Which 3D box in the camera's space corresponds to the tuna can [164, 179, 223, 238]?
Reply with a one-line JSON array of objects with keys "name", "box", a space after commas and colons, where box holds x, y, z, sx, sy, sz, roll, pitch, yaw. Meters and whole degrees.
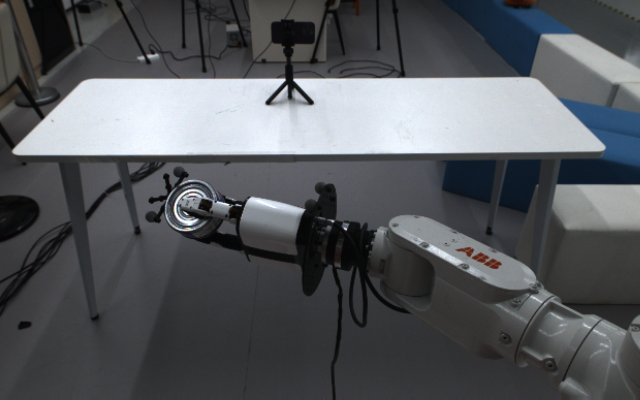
[{"name": "tuna can", "box": [-0.185, 0.013, 0.721, 0.085, 0.034, 0.085, -3, 71, 10]}]
